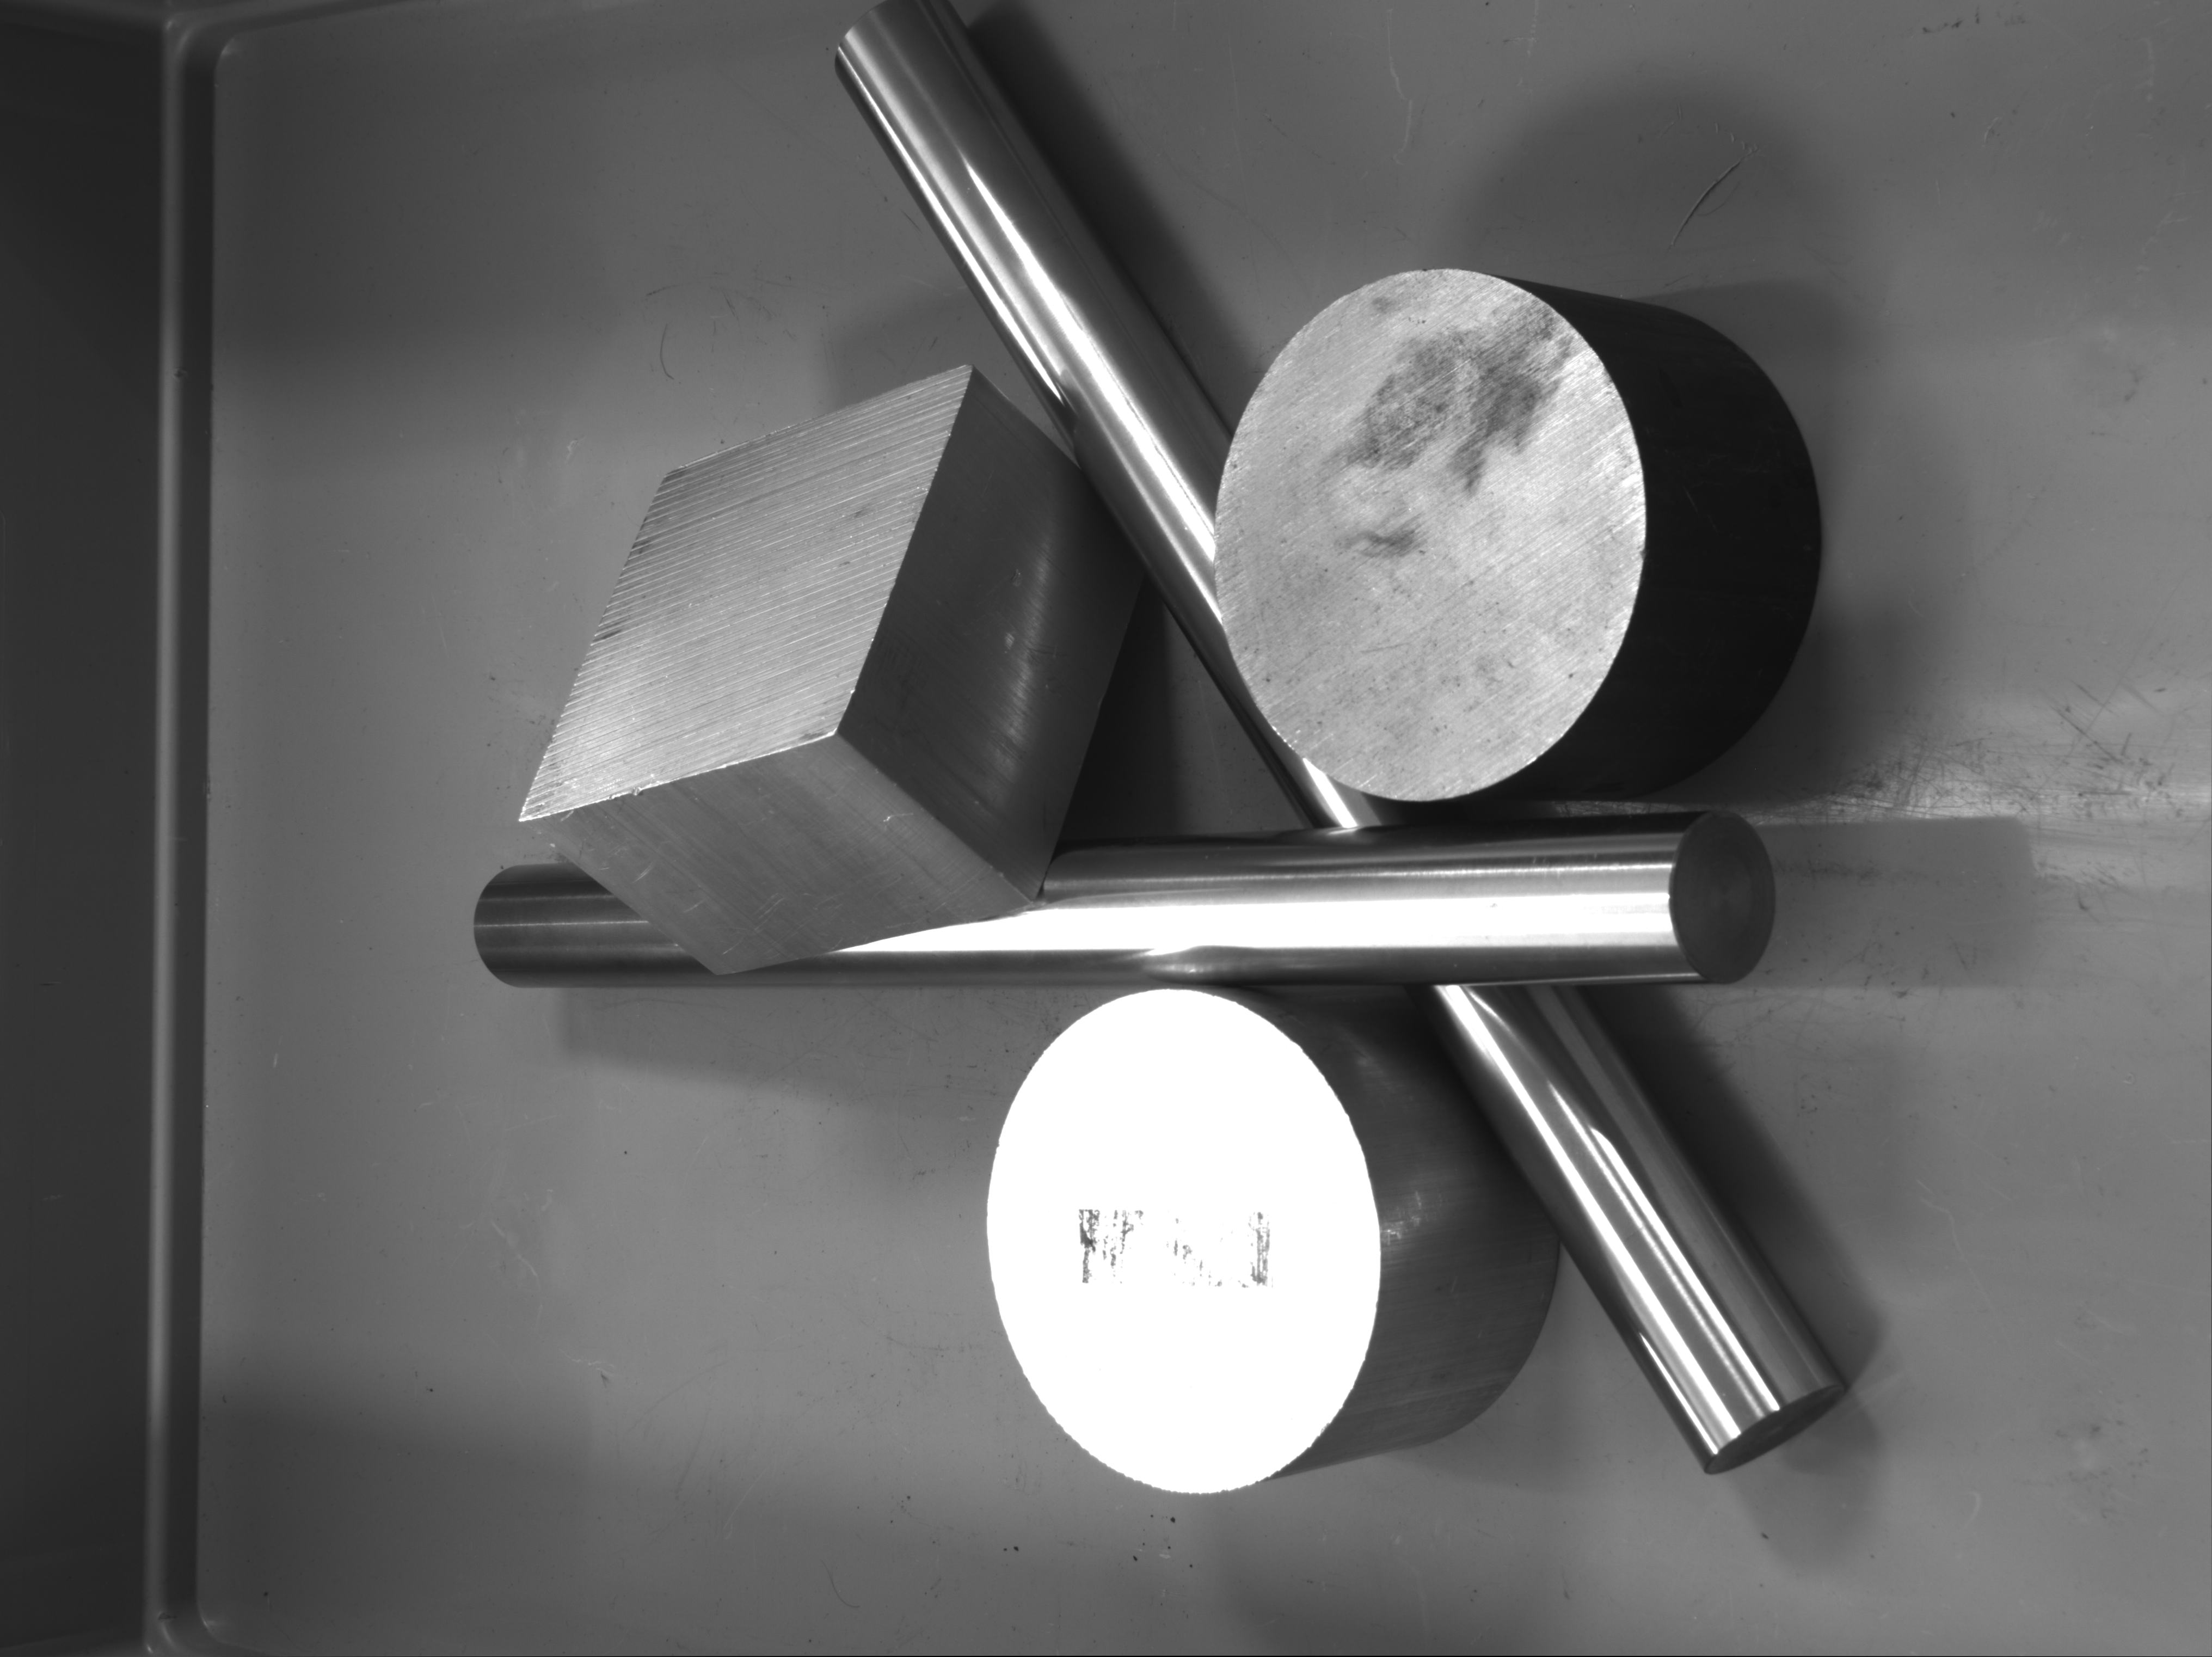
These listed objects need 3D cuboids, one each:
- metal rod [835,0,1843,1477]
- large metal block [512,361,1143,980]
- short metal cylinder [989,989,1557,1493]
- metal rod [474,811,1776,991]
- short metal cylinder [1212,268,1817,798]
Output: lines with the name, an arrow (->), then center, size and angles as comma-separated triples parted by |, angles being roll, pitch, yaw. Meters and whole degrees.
metal rod -> 0.031, -0.027, 0.618 | 0.025, 0.025, 0.300 | -45, 63, 31
large metal block -> -0.047, -0.026, 0.643 | 0.080, 0.050, 0.080 | -13, 47, 40
short metal cylinder -> 0.027, 0.066, 0.604 | 0.080, 0.050, 0.080 | 0, 90, 40
metal rod -> -0.014, 0.015, 0.634 | 0.299, 0.025, 0.025 | -3, 88, 46
short metal cylinder -> 0.063, -0.045, 0.575 | 0.080, 0.050, 0.080 | 0, 90, 40
